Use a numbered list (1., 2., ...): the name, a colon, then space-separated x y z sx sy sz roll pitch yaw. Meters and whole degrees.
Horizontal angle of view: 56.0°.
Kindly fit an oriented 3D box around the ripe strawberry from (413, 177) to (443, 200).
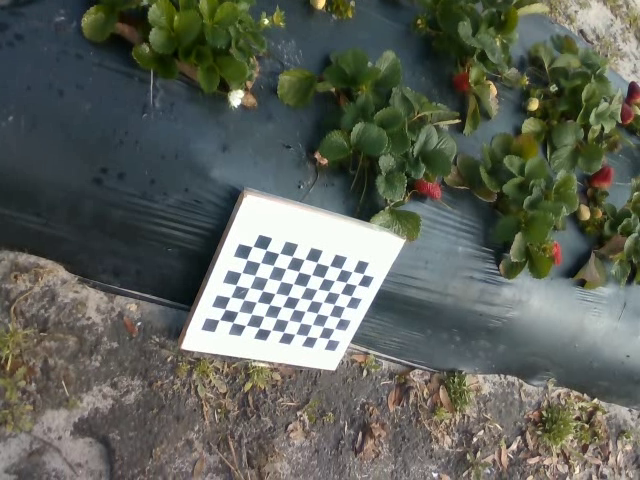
1. ripe strawberry: 0.184 -0.086 0.977 0.050 0.064 0.043 -38 34 -1
